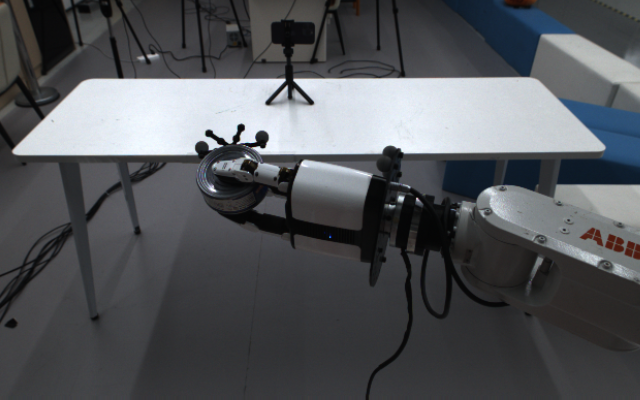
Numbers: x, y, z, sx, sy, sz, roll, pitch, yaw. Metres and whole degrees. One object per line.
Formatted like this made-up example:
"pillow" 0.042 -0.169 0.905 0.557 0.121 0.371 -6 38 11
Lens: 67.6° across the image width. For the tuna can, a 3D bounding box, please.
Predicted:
"tuna can" -0.103 -0.020 0.596 0.085 0.034 0.085 -3 60 5
